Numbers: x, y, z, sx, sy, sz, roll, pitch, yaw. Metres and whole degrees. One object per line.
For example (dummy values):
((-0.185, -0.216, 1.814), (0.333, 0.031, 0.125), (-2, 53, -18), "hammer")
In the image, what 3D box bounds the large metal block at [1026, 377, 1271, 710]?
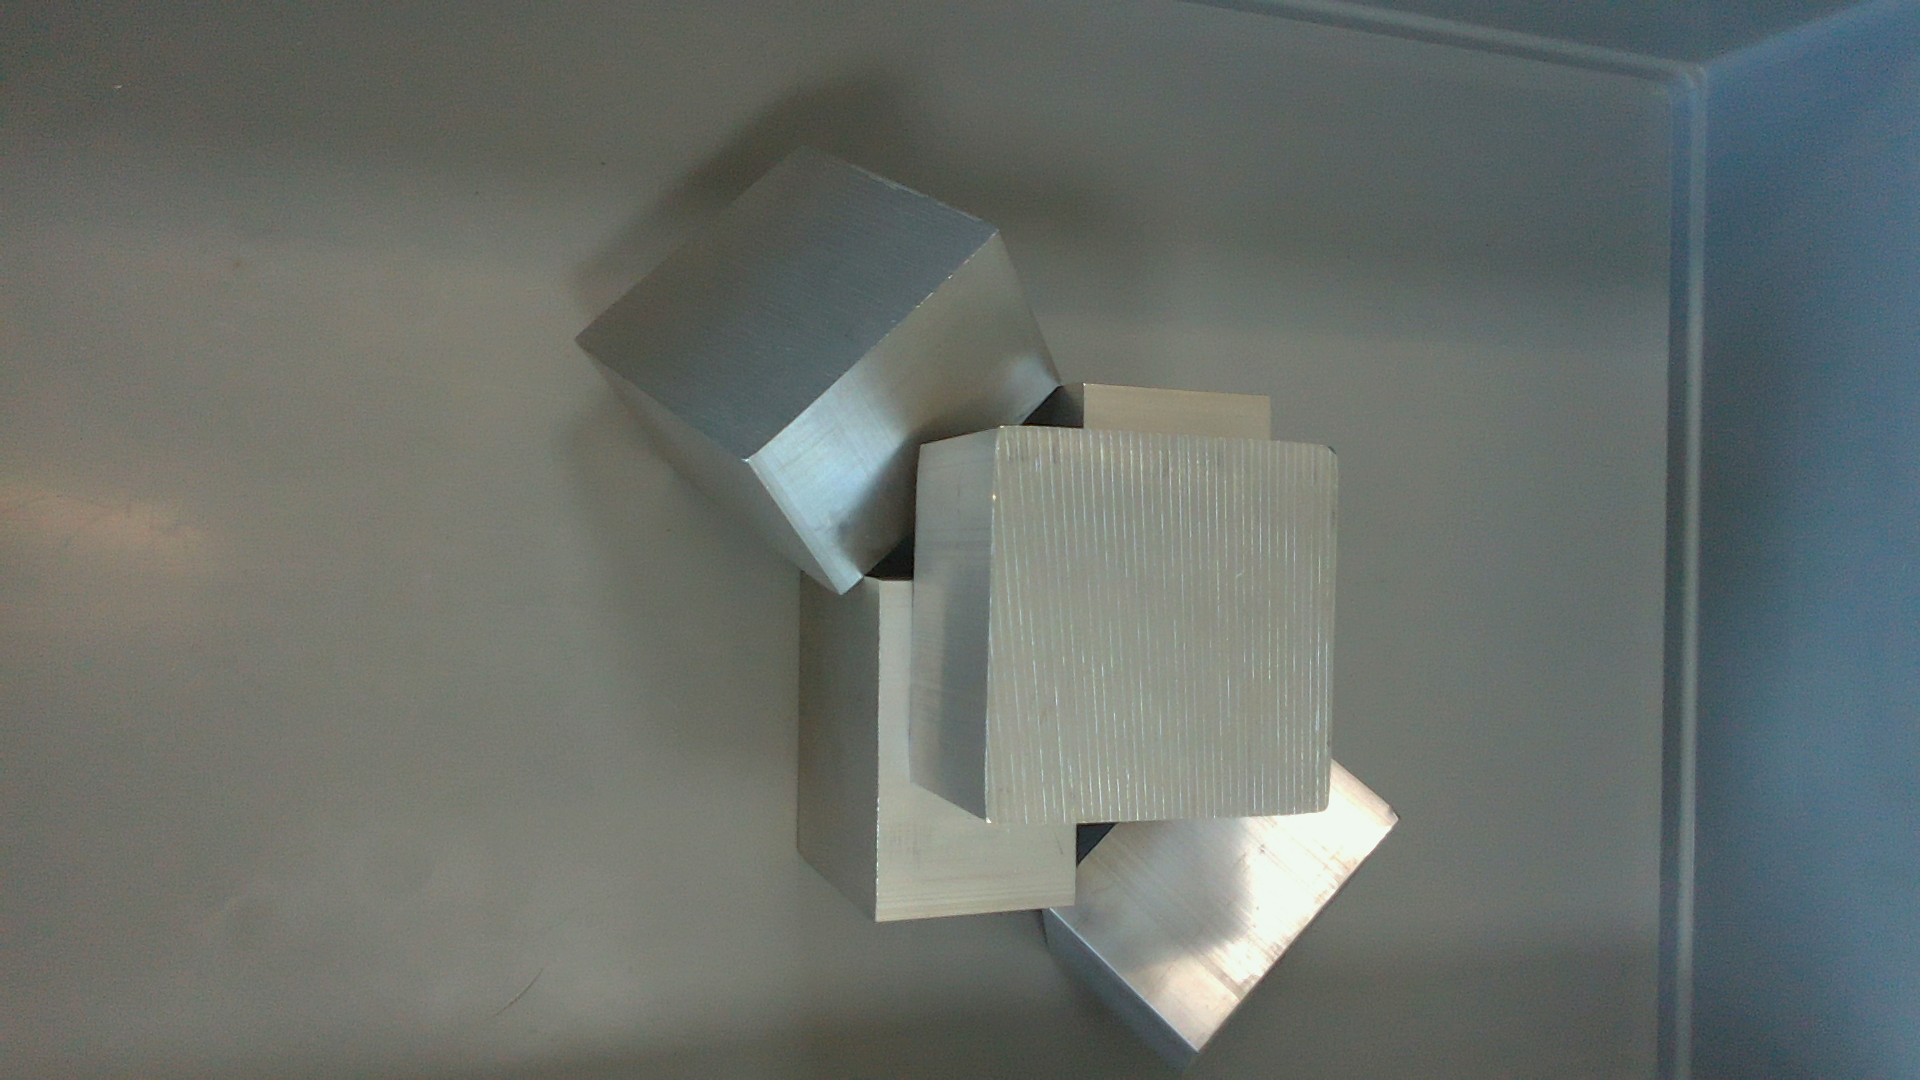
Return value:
((0.041, 0.001, 0.377), (0.050, 0.080, 0.080), (1, 89, -20), "large metal block")

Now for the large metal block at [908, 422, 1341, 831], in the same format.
((0.035, 0.018, 0.306), (0.080, 0.050, 0.080), (2, 90, -20), "large metal block")

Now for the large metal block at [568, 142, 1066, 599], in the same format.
((-0.035, -0.045, 0.342), (0.080, 0.080, 0.050), (-45, 139, -15), "large metal block")

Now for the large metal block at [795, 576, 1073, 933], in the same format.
((-0.010, 0.050, 0.360), (0.050, 0.080, 0.080), (1, 89, -20), "large metal block")

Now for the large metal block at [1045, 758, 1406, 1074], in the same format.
((0.070, 0.098, 0.381), (0.080, 0.080, 0.050), (-43, 68, -15), "large metal block")
